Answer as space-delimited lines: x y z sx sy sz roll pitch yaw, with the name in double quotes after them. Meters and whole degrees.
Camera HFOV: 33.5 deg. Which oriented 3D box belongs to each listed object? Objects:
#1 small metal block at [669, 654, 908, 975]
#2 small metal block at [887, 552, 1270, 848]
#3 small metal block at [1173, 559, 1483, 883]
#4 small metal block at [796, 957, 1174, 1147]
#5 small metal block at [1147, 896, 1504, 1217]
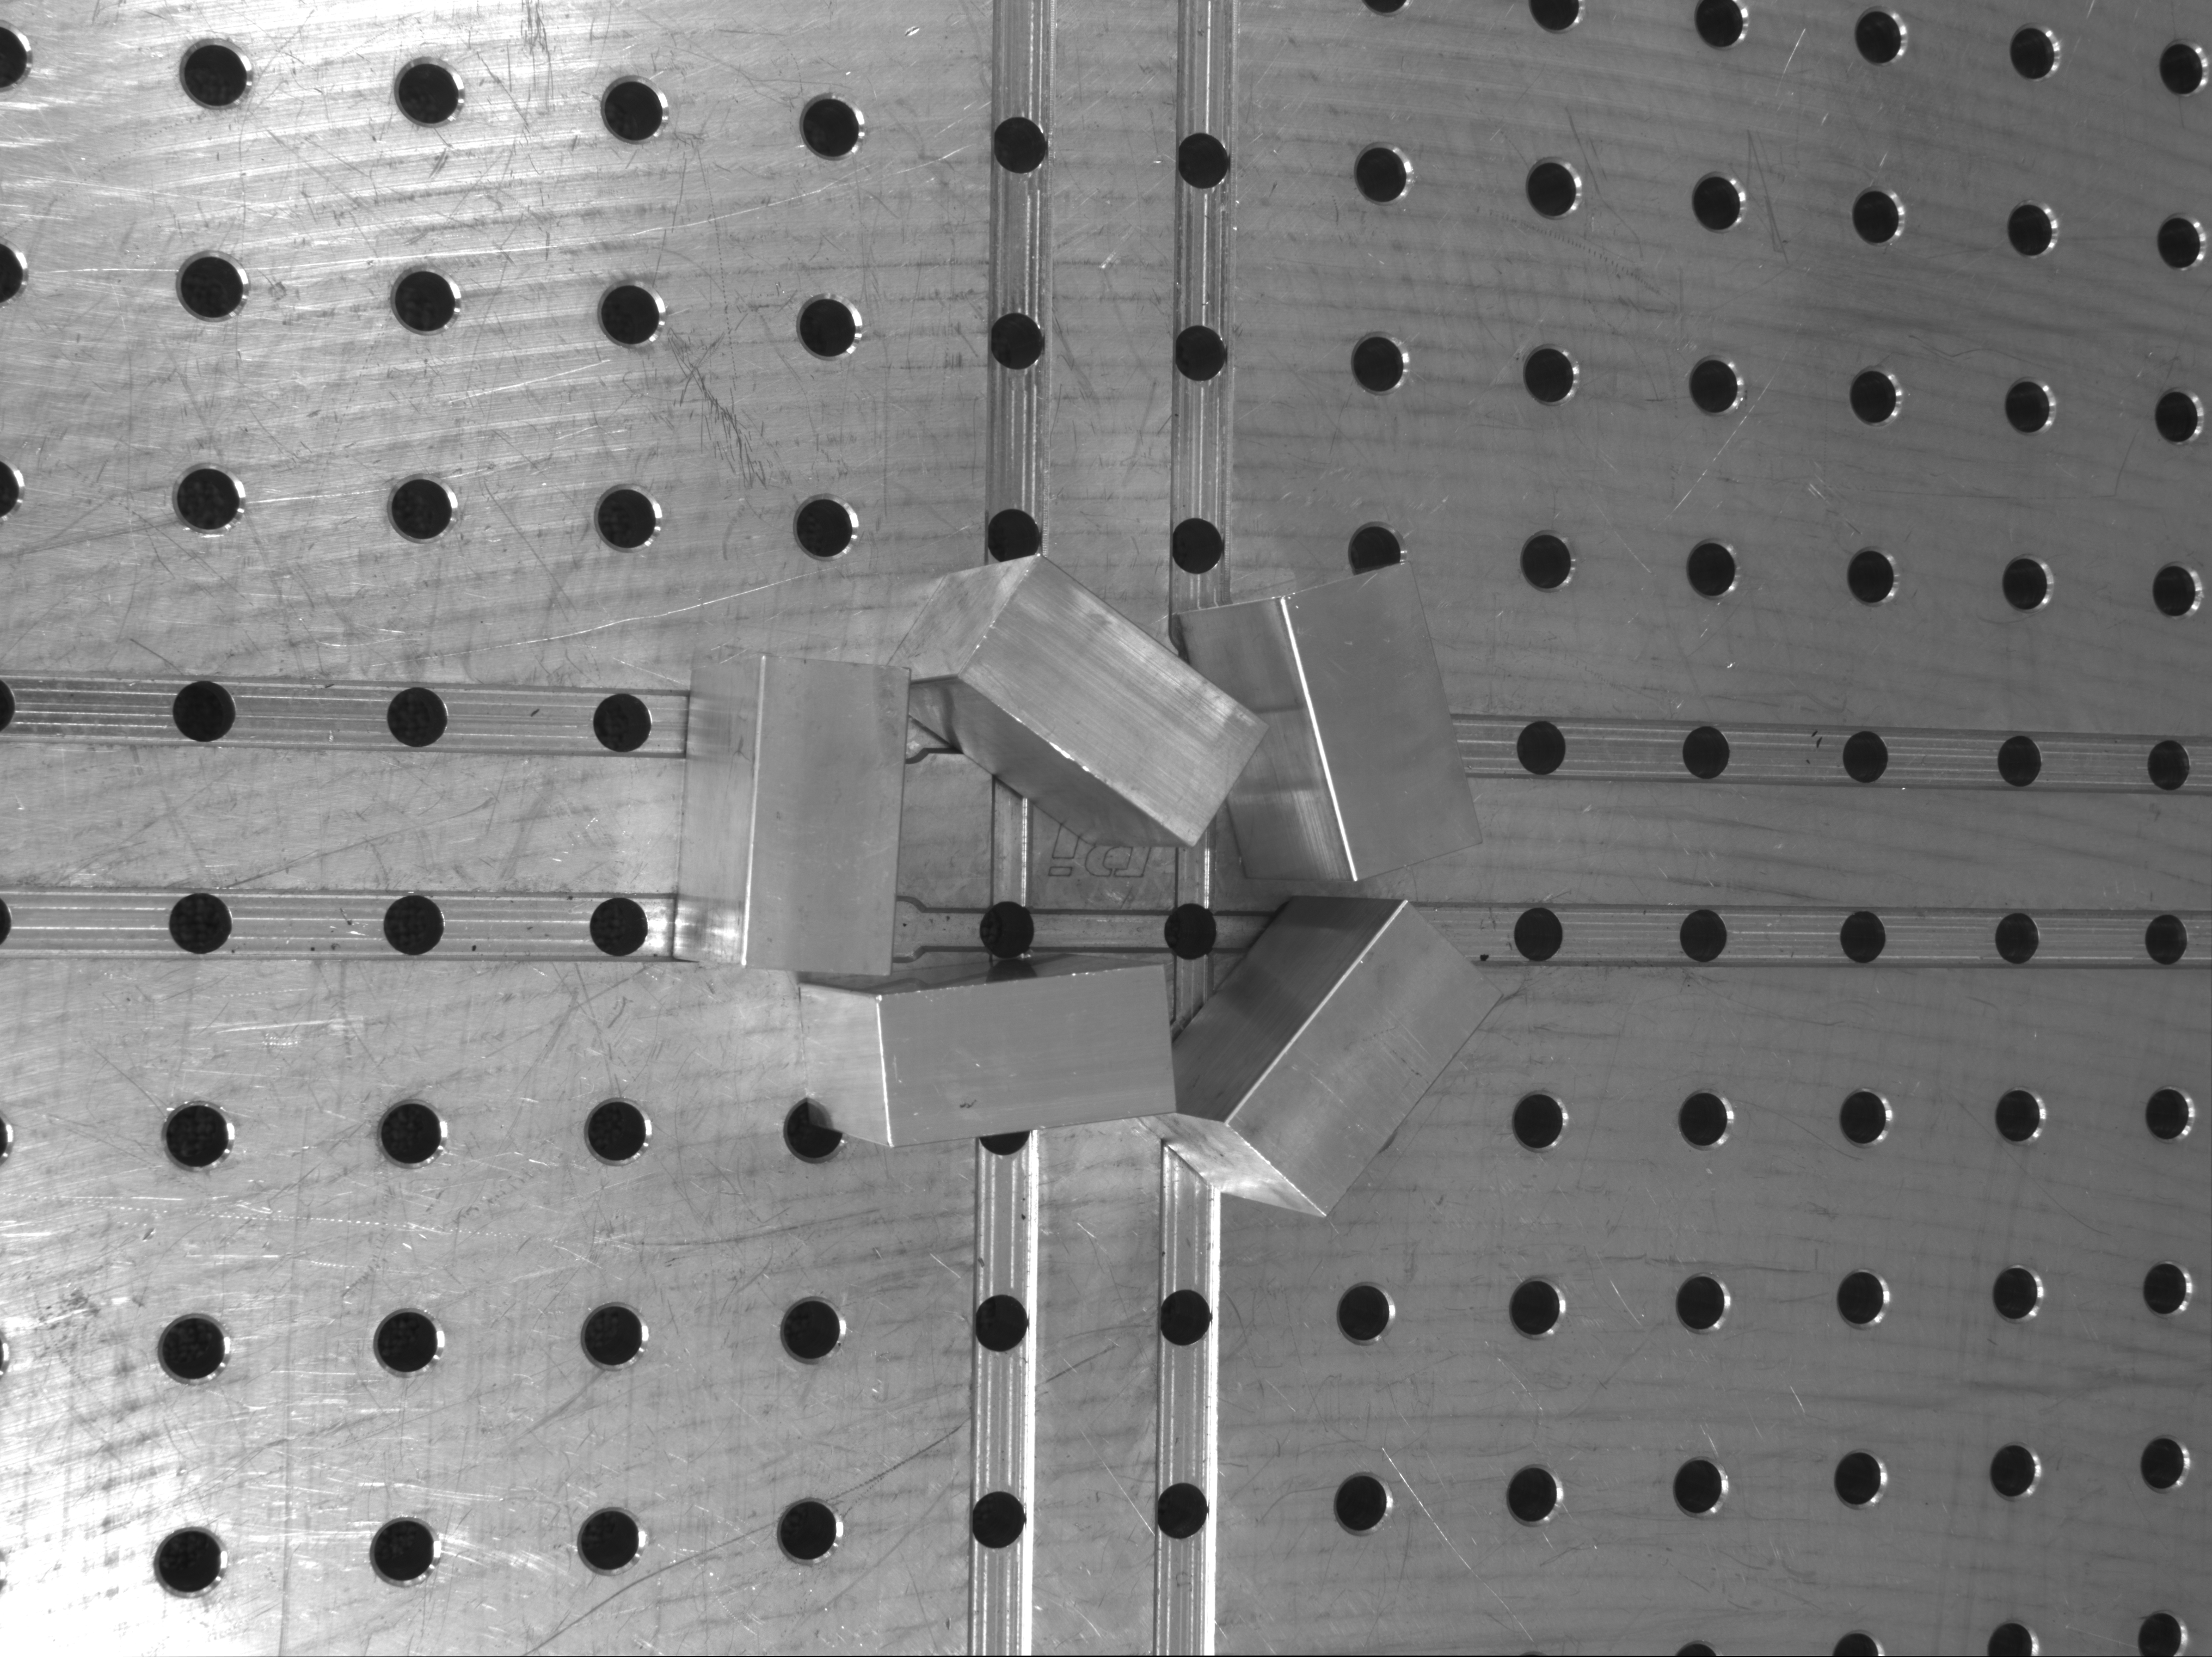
-0.054 -0.002 0.613 0.025 0.050 0.050 4 89 -19 "small metal block"
-0.007 -0.021 0.630 0.050 0.050 0.025 36 79 -17 "small metal block"
0.038 -0.018 0.646 0.025 0.050 0.050 -17 95 -19 "small metal block"
-0.022 0.037 0.624 0.050 0.050 0.025 -5 91 -20 "small metal block"
0.036 0.039 0.645 0.025 0.050 0.050 44 76 -13 "small metal block"
